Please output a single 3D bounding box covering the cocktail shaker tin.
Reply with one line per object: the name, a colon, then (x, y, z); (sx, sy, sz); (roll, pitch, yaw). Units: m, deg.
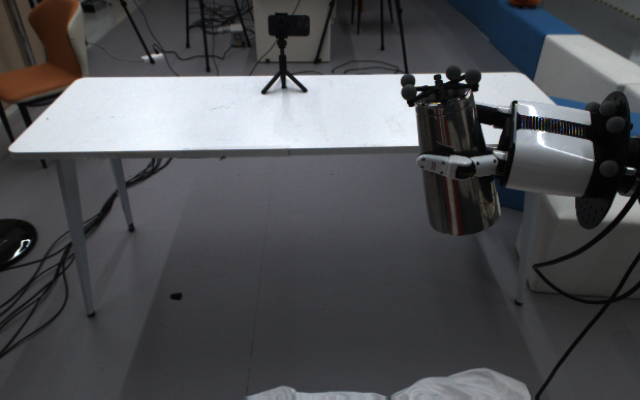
cocktail shaker tin: (0.167, -0.052, 0.598); (0.093, 0.170, 0.093); (-15, 28, 8)
